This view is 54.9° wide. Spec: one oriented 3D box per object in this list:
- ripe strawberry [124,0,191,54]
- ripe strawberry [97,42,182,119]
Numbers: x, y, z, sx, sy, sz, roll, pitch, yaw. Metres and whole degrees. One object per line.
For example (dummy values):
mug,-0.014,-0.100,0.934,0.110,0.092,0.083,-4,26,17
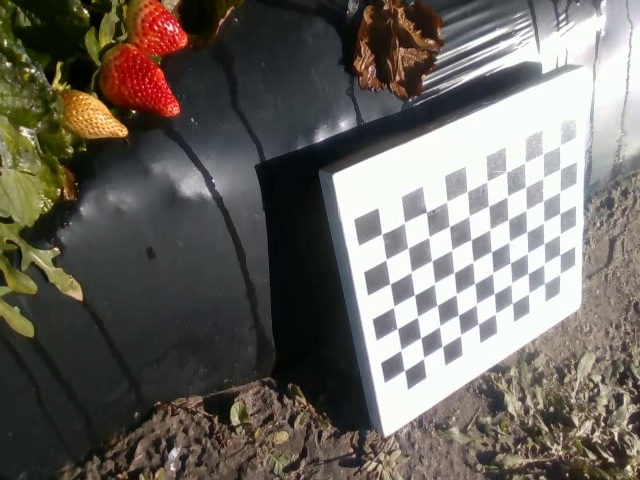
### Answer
ripe strawberry,-0.095,-0.125,0.367,0.041,0.036,0.030,5,14,-30
ripe strawberry,-0.100,-0.087,0.356,0.051,0.037,0.040,32,-3,-1
